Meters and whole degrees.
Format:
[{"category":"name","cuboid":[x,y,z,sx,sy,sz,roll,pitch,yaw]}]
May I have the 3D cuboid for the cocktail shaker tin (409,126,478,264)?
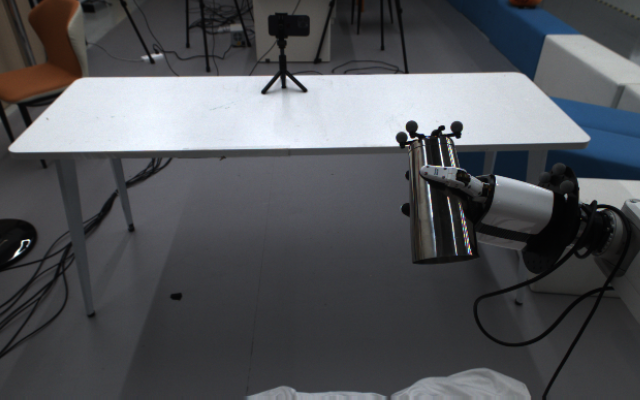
[{"category":"cocktail shaker tin","cuboid":[0.169,0.000,0.687,0.093,0.093,0.170,-3,76,-8]}]
